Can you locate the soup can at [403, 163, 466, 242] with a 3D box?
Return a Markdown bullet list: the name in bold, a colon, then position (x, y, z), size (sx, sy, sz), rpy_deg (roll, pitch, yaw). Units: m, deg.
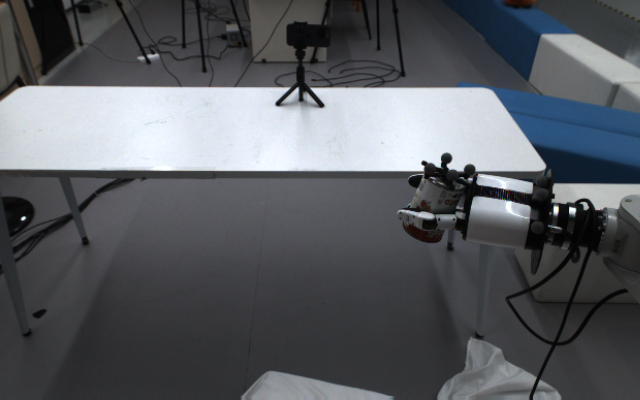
- **soup can**: position (0.180, 0.007, 0.762), size (0.067, 0.101, 0.067), rpy_deg (13, 30, -8)
